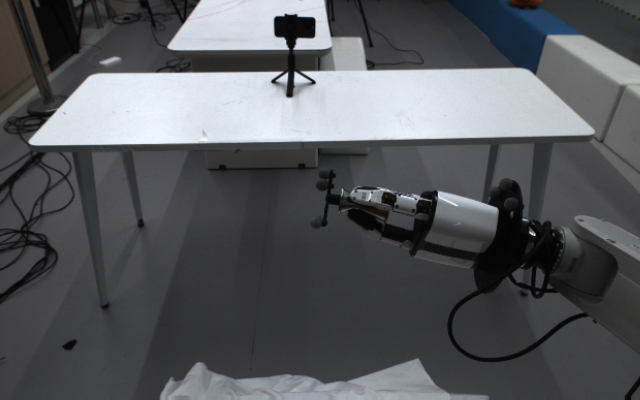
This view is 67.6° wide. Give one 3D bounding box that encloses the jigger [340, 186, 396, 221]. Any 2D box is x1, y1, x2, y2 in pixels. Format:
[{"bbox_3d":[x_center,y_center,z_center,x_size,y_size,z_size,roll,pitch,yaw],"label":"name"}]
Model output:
[{"bbox_3d":[0.068,0.003,0.675,0.071,0.043,0.043,9,35,1],"label":"jigger"}]
